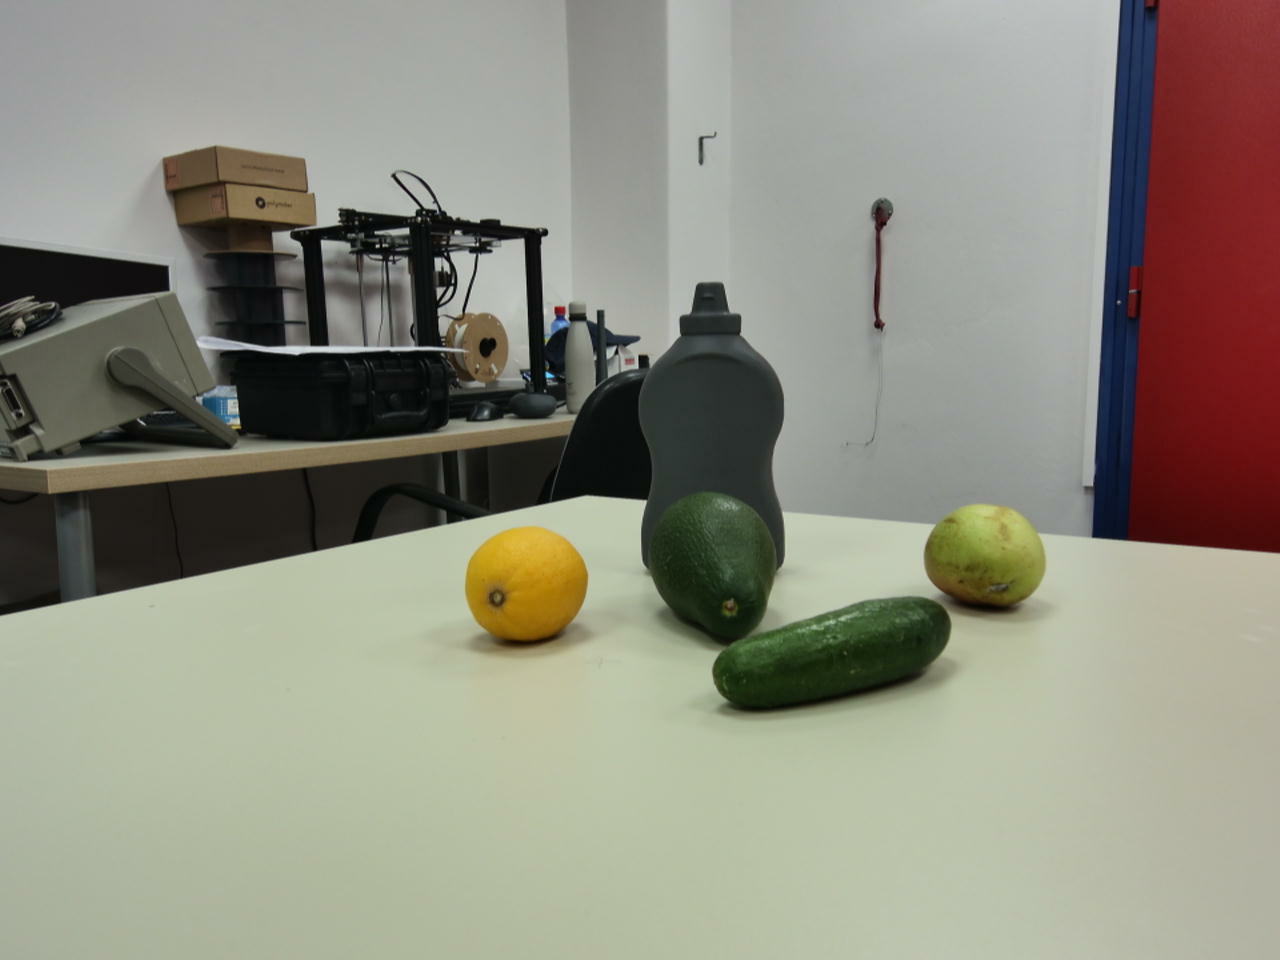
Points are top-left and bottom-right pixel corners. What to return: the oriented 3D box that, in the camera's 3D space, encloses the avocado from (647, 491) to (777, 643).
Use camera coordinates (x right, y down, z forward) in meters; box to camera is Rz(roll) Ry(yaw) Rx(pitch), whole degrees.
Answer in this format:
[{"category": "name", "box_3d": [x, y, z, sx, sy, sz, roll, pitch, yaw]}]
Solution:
[{"category": "avocado", "box_3d": [0.037, 0.044, 0.545, 0.073, 0.071, 0.109, 2, 6, 13]}]
